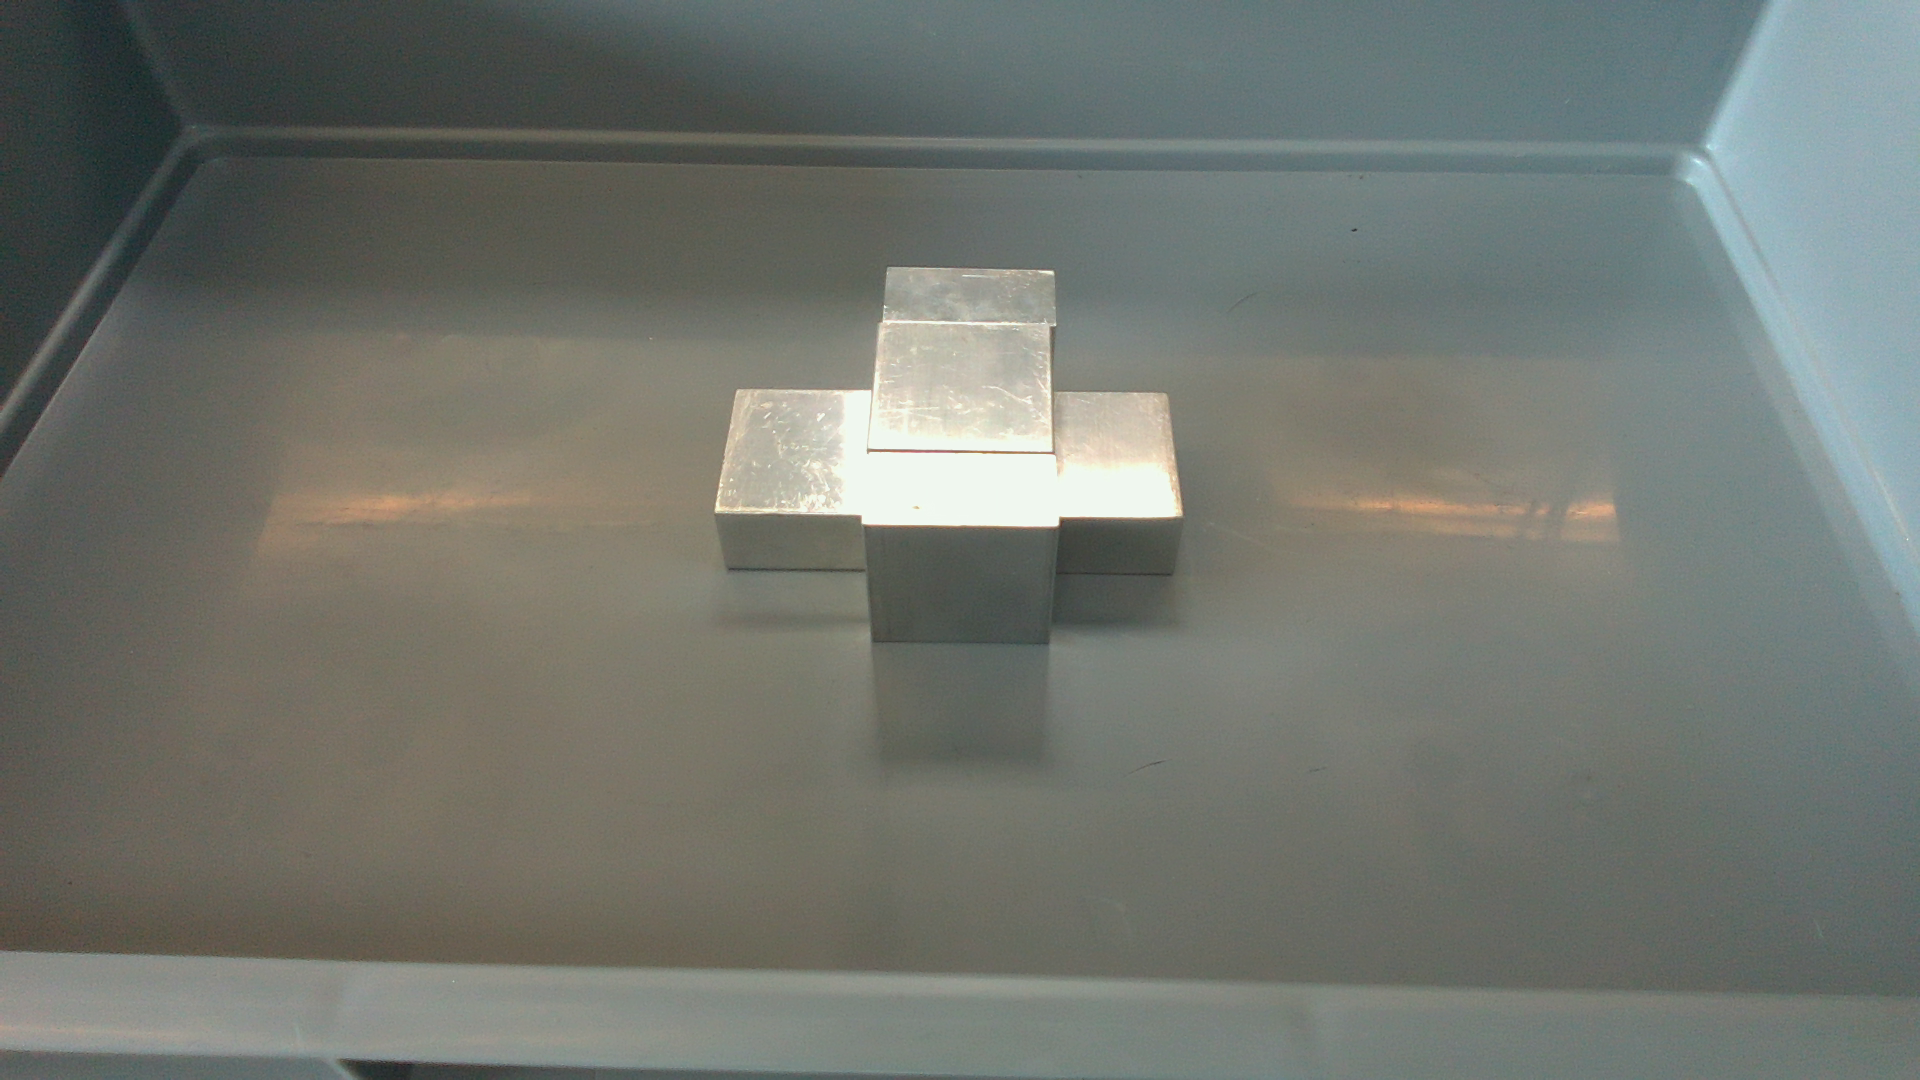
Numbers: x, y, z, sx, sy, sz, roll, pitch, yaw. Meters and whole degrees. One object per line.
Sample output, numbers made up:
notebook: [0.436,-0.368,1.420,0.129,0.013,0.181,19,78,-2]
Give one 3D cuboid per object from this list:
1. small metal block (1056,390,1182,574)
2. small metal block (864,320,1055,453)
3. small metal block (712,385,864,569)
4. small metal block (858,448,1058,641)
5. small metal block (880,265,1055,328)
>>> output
small metal block: [0.037,-0.018,0.405,0.050,0.025,0.050,1,50,0]
small metal block: [0.000,-0.035,0.386,0.050,0.025,0.050,1,50,0]
small metal block: [-0.043,-0.019,0.405,0.050,0.025,0.050,1,50,1]
small metal block: [0.000,0.002,0.370,0.050,0.050,0.025,1,50,0]
small metal block: [0.002,-0.056,0.420,0.050,0.050,0.025,1,50,0]
